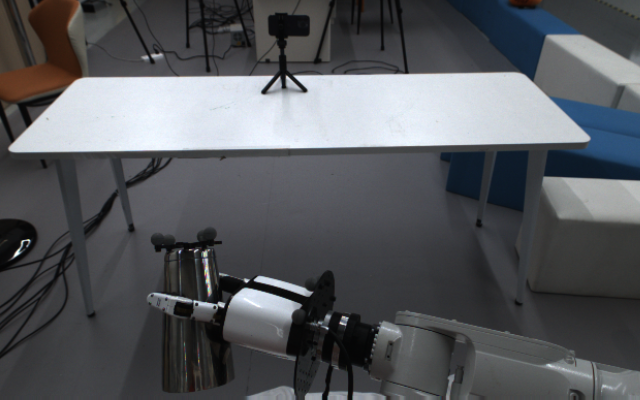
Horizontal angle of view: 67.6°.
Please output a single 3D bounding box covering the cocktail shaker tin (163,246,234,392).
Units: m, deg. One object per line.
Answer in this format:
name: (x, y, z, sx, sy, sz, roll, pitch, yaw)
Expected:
cocktail shaker tin: (-0.164, 0.153, 0.633, 0.093, 0.170, 0.093, -6, -7, -1)
